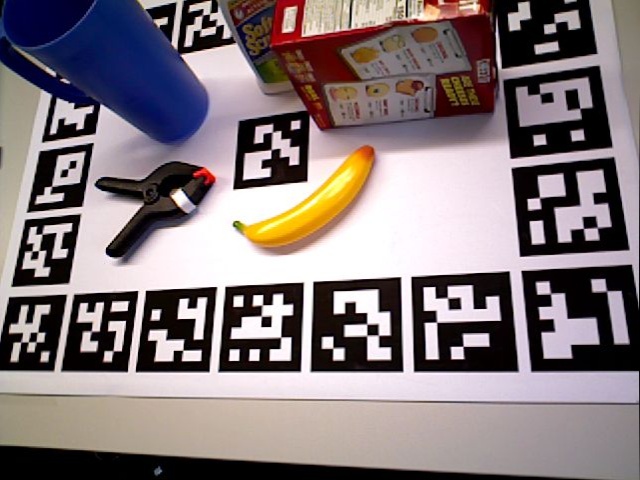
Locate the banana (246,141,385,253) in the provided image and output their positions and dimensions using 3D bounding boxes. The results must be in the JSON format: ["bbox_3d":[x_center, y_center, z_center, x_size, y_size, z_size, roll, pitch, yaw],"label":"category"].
[{"bbox_3d":[0.006,-0.042,0.641,0.198,0.039,0.074,-38,63,3],"label":"banana"}]

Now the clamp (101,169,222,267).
[{"bbox_3d":[-0.206,-0.044,0.707,0.166,0.037,0.121,-21,64,9],"label":"clamp"}]

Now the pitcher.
[{"bbox_3d":[-0.252,-0.211,0.644,0.189,0.244,0.132,-23,64,6],"label":"pitcher"}]

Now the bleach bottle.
[{"bbox_3d":[-0.067,-0.262,0.619,0.103,0.252,0.067,-6,67,16],"label":"bleach bottle"}]

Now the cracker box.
[{"bbox_3d":[0.088,-0.198,0.572,0.215,0.165,0.071,-5,65,19],"label":"cracker box"}]
